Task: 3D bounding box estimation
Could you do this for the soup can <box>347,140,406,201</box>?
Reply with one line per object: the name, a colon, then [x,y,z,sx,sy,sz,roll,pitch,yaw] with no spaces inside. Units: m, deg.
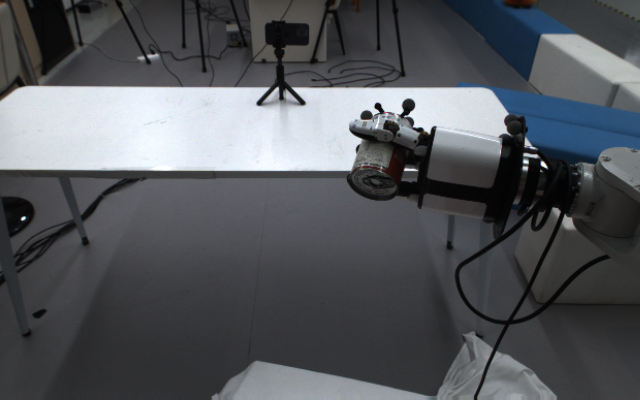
soup can: [0.083,-0.062,0.652,0.067,0.067,0.101,12,59,14]
